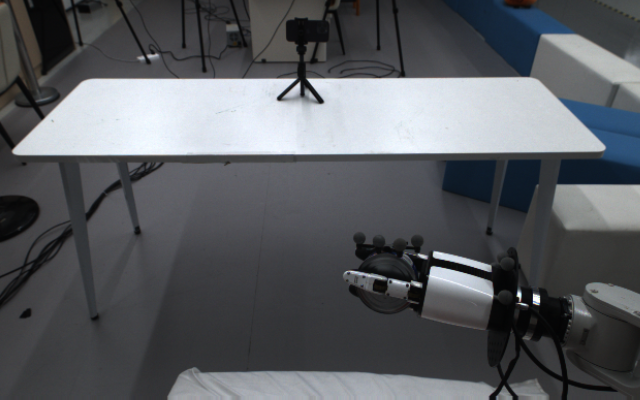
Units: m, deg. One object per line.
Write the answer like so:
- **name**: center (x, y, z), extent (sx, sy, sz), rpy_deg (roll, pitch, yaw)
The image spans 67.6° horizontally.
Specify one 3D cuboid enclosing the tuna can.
- **tuna can**: center (0.095, 0.112, 0.671), extent (0.085, 0.085, 0.034), rpy_deg (13, 7, 15)
